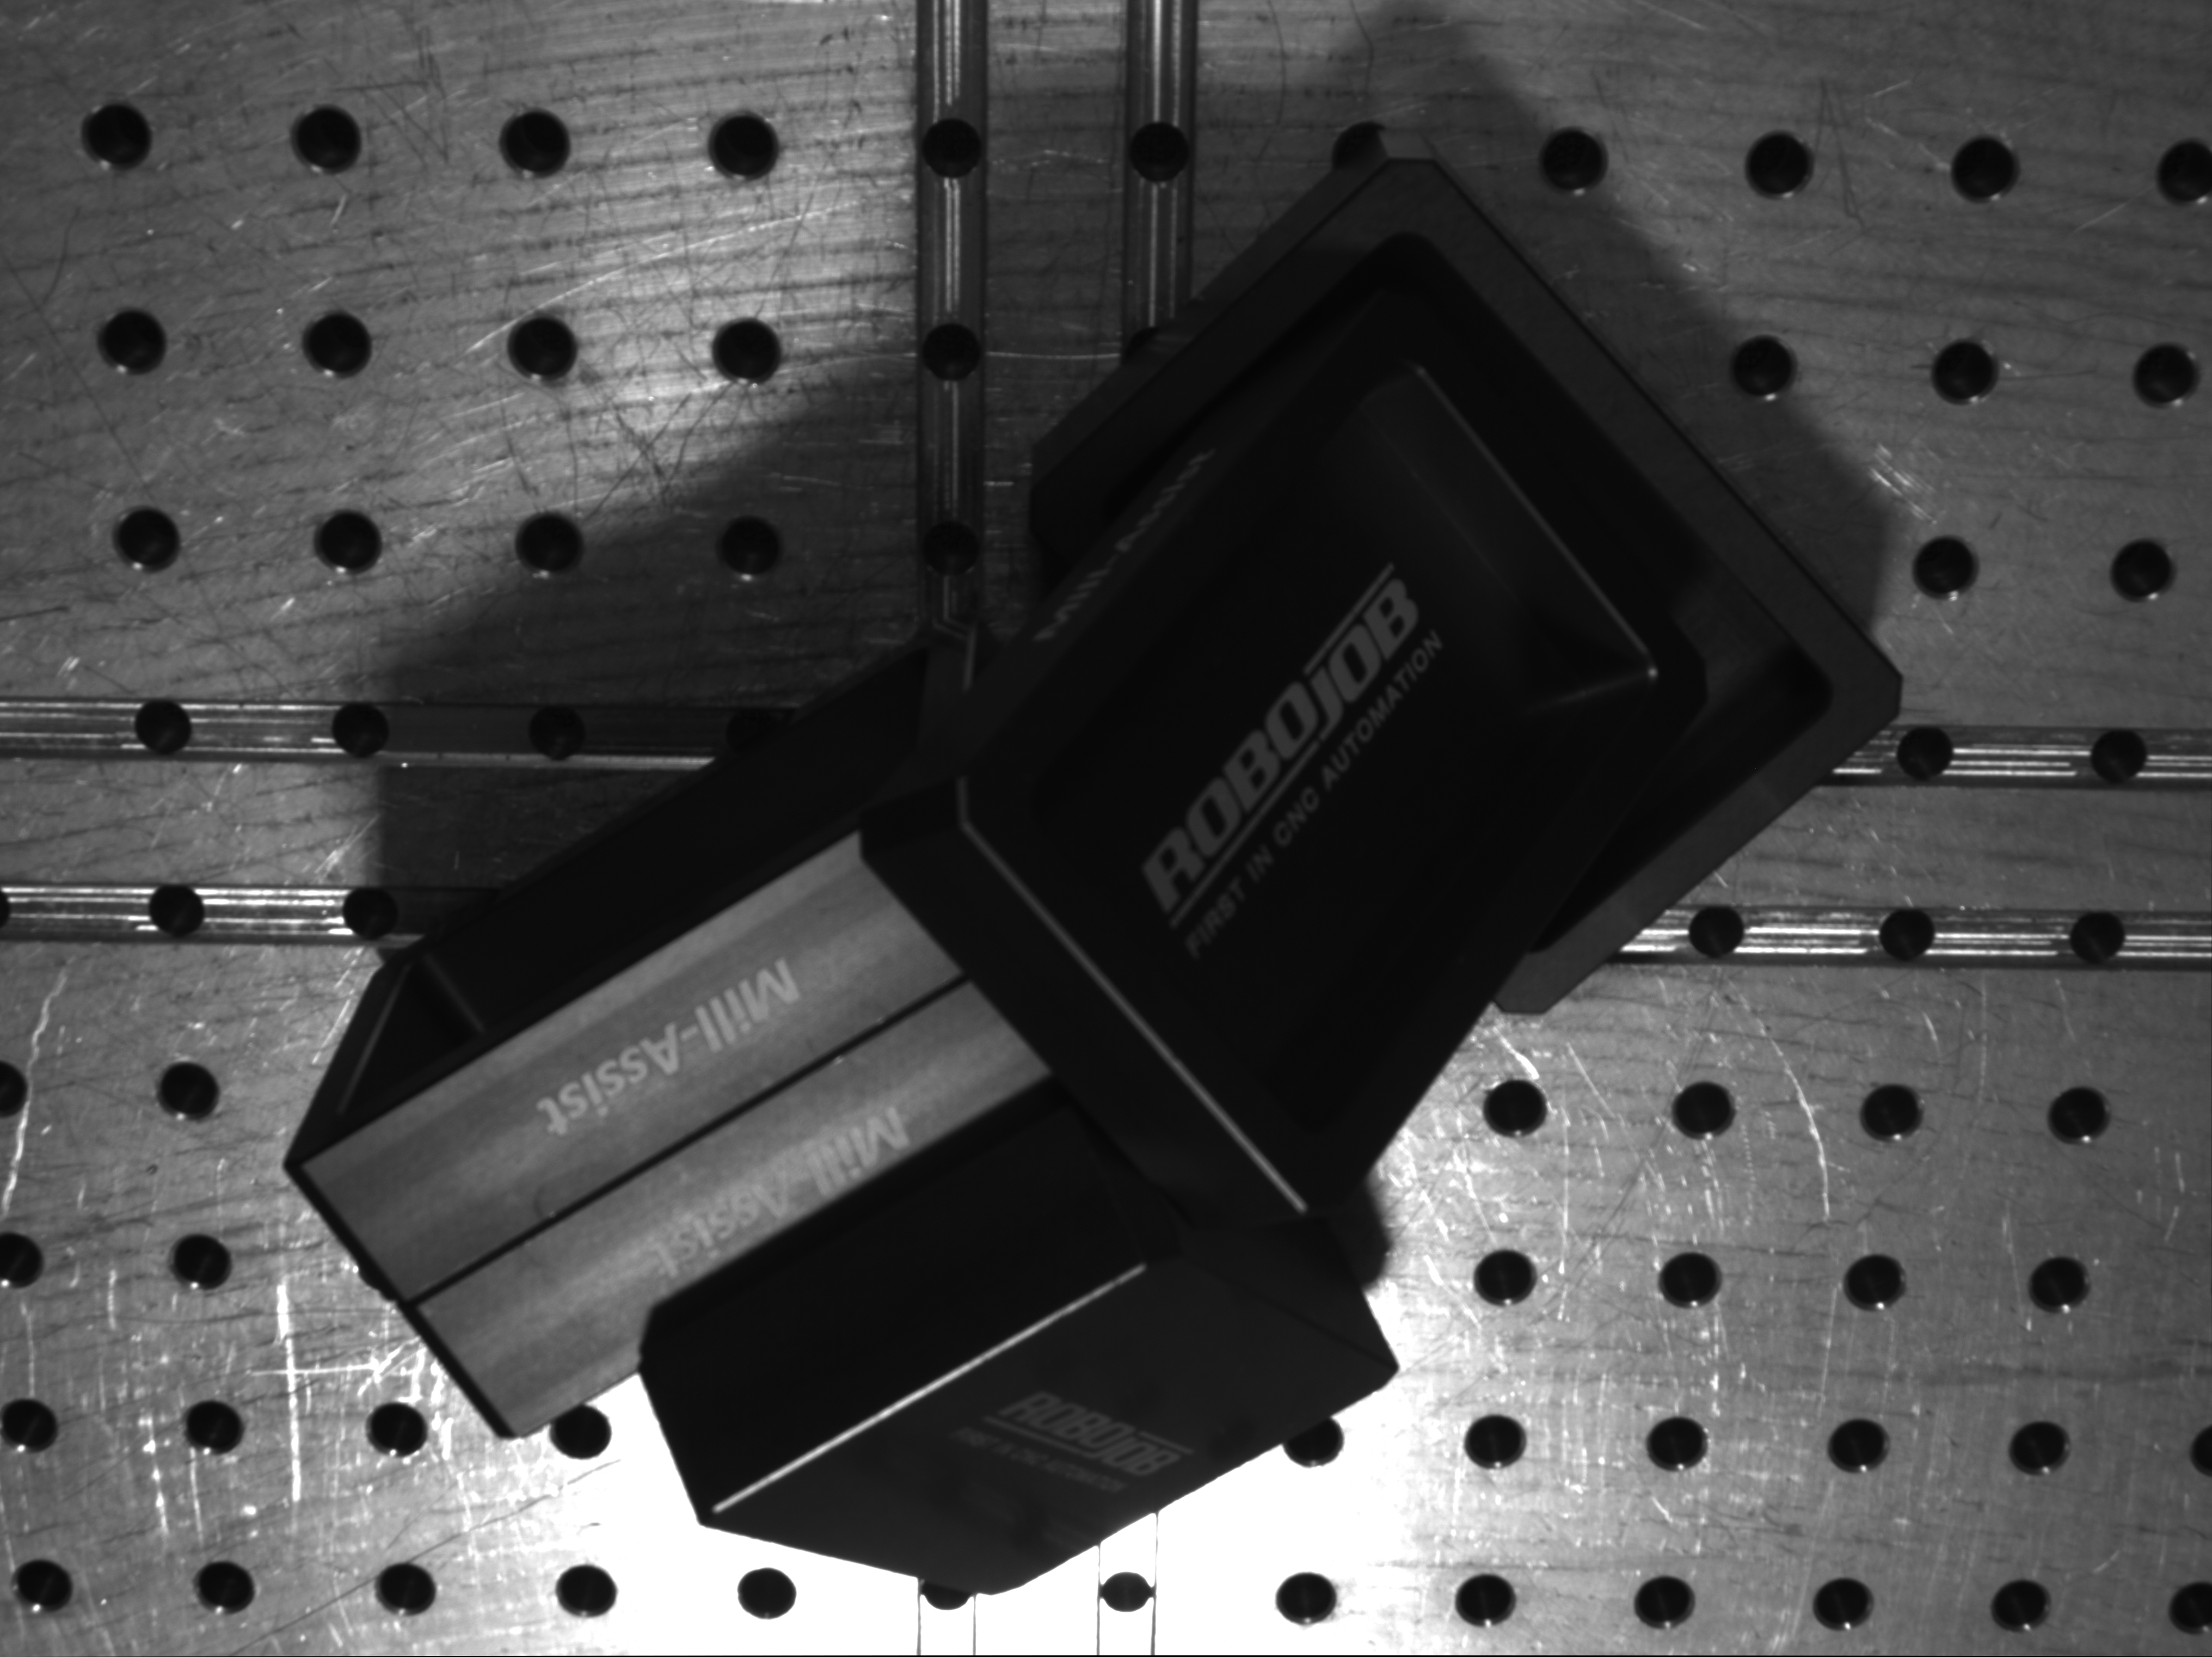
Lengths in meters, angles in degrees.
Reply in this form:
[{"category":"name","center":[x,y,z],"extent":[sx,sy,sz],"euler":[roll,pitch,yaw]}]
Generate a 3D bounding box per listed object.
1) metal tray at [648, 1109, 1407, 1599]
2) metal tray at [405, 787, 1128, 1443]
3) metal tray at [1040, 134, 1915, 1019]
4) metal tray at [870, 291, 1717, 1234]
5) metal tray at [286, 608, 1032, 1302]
[{"category":"metal tray","center":[-0.009,0.094,0.630],"extent":[0.090,0.130,0.030],"euler":[-31,66,10]},{"category":"metal tray","center":[-0.052,0.043,0.624],"extent":[0.130,0.090,0.030],"euler":[-31,107,10]},{"category":"metal tray","center":[0.063,-0.042,0.627],"extent":[0.090,0.030,0.130],"euler":[-42,105,13]},{"category":"metal tray","center":[0.033,-0.011,0.582],"extent":[0.090,0.030,0.130],"euler":[49,58,-16]},{"category":"metal tray","center":[-0.069,0.019,0.617],"extent":[0.130,0.090,0.030],"euler":[-31,107,10]}]
